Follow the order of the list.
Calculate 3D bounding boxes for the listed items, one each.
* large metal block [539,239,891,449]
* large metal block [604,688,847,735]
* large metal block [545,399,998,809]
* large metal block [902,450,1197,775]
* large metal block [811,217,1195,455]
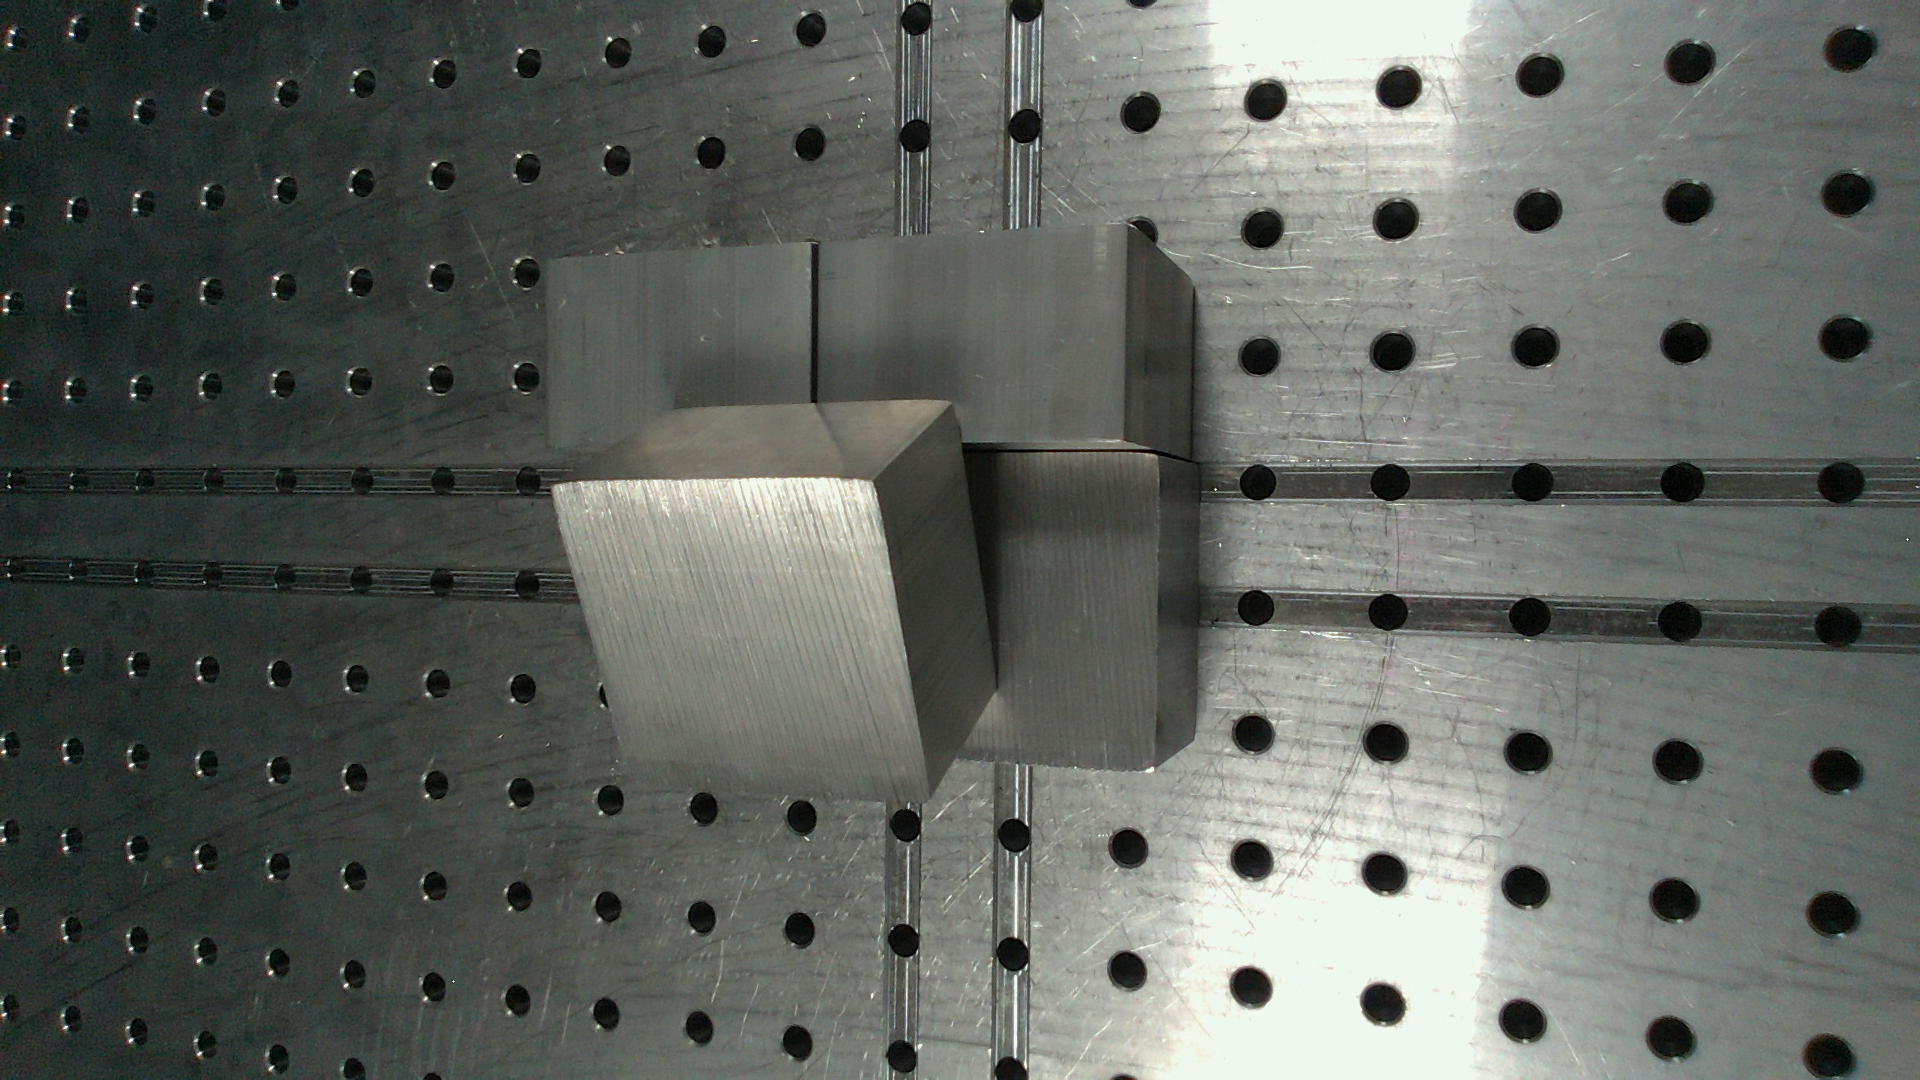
[{"bbox_3d":[-0.060,-0.050,0.390,0.080,0.080,0.050,1,90,20],"label":"large metal block"},{"bbox_3d":[-0.055,0.016,0.403,0.080,0.050,0.080,1,90,20],"label":"large metal block"},{"bbox_3d":[-0.041,0.014,0.329,0.080,0.050,0.080,0,114,20],"label":"large metal block"},{"bbox_3d":[0.020,0.017,0.375,0.080,0.050,0.080,1,90,20],"label":"large metal block"},{"bbox_3d":[0.015,-0.049,0.363,0.080,0.080,0.050,1,90,20],"label":"large metal block"}]
